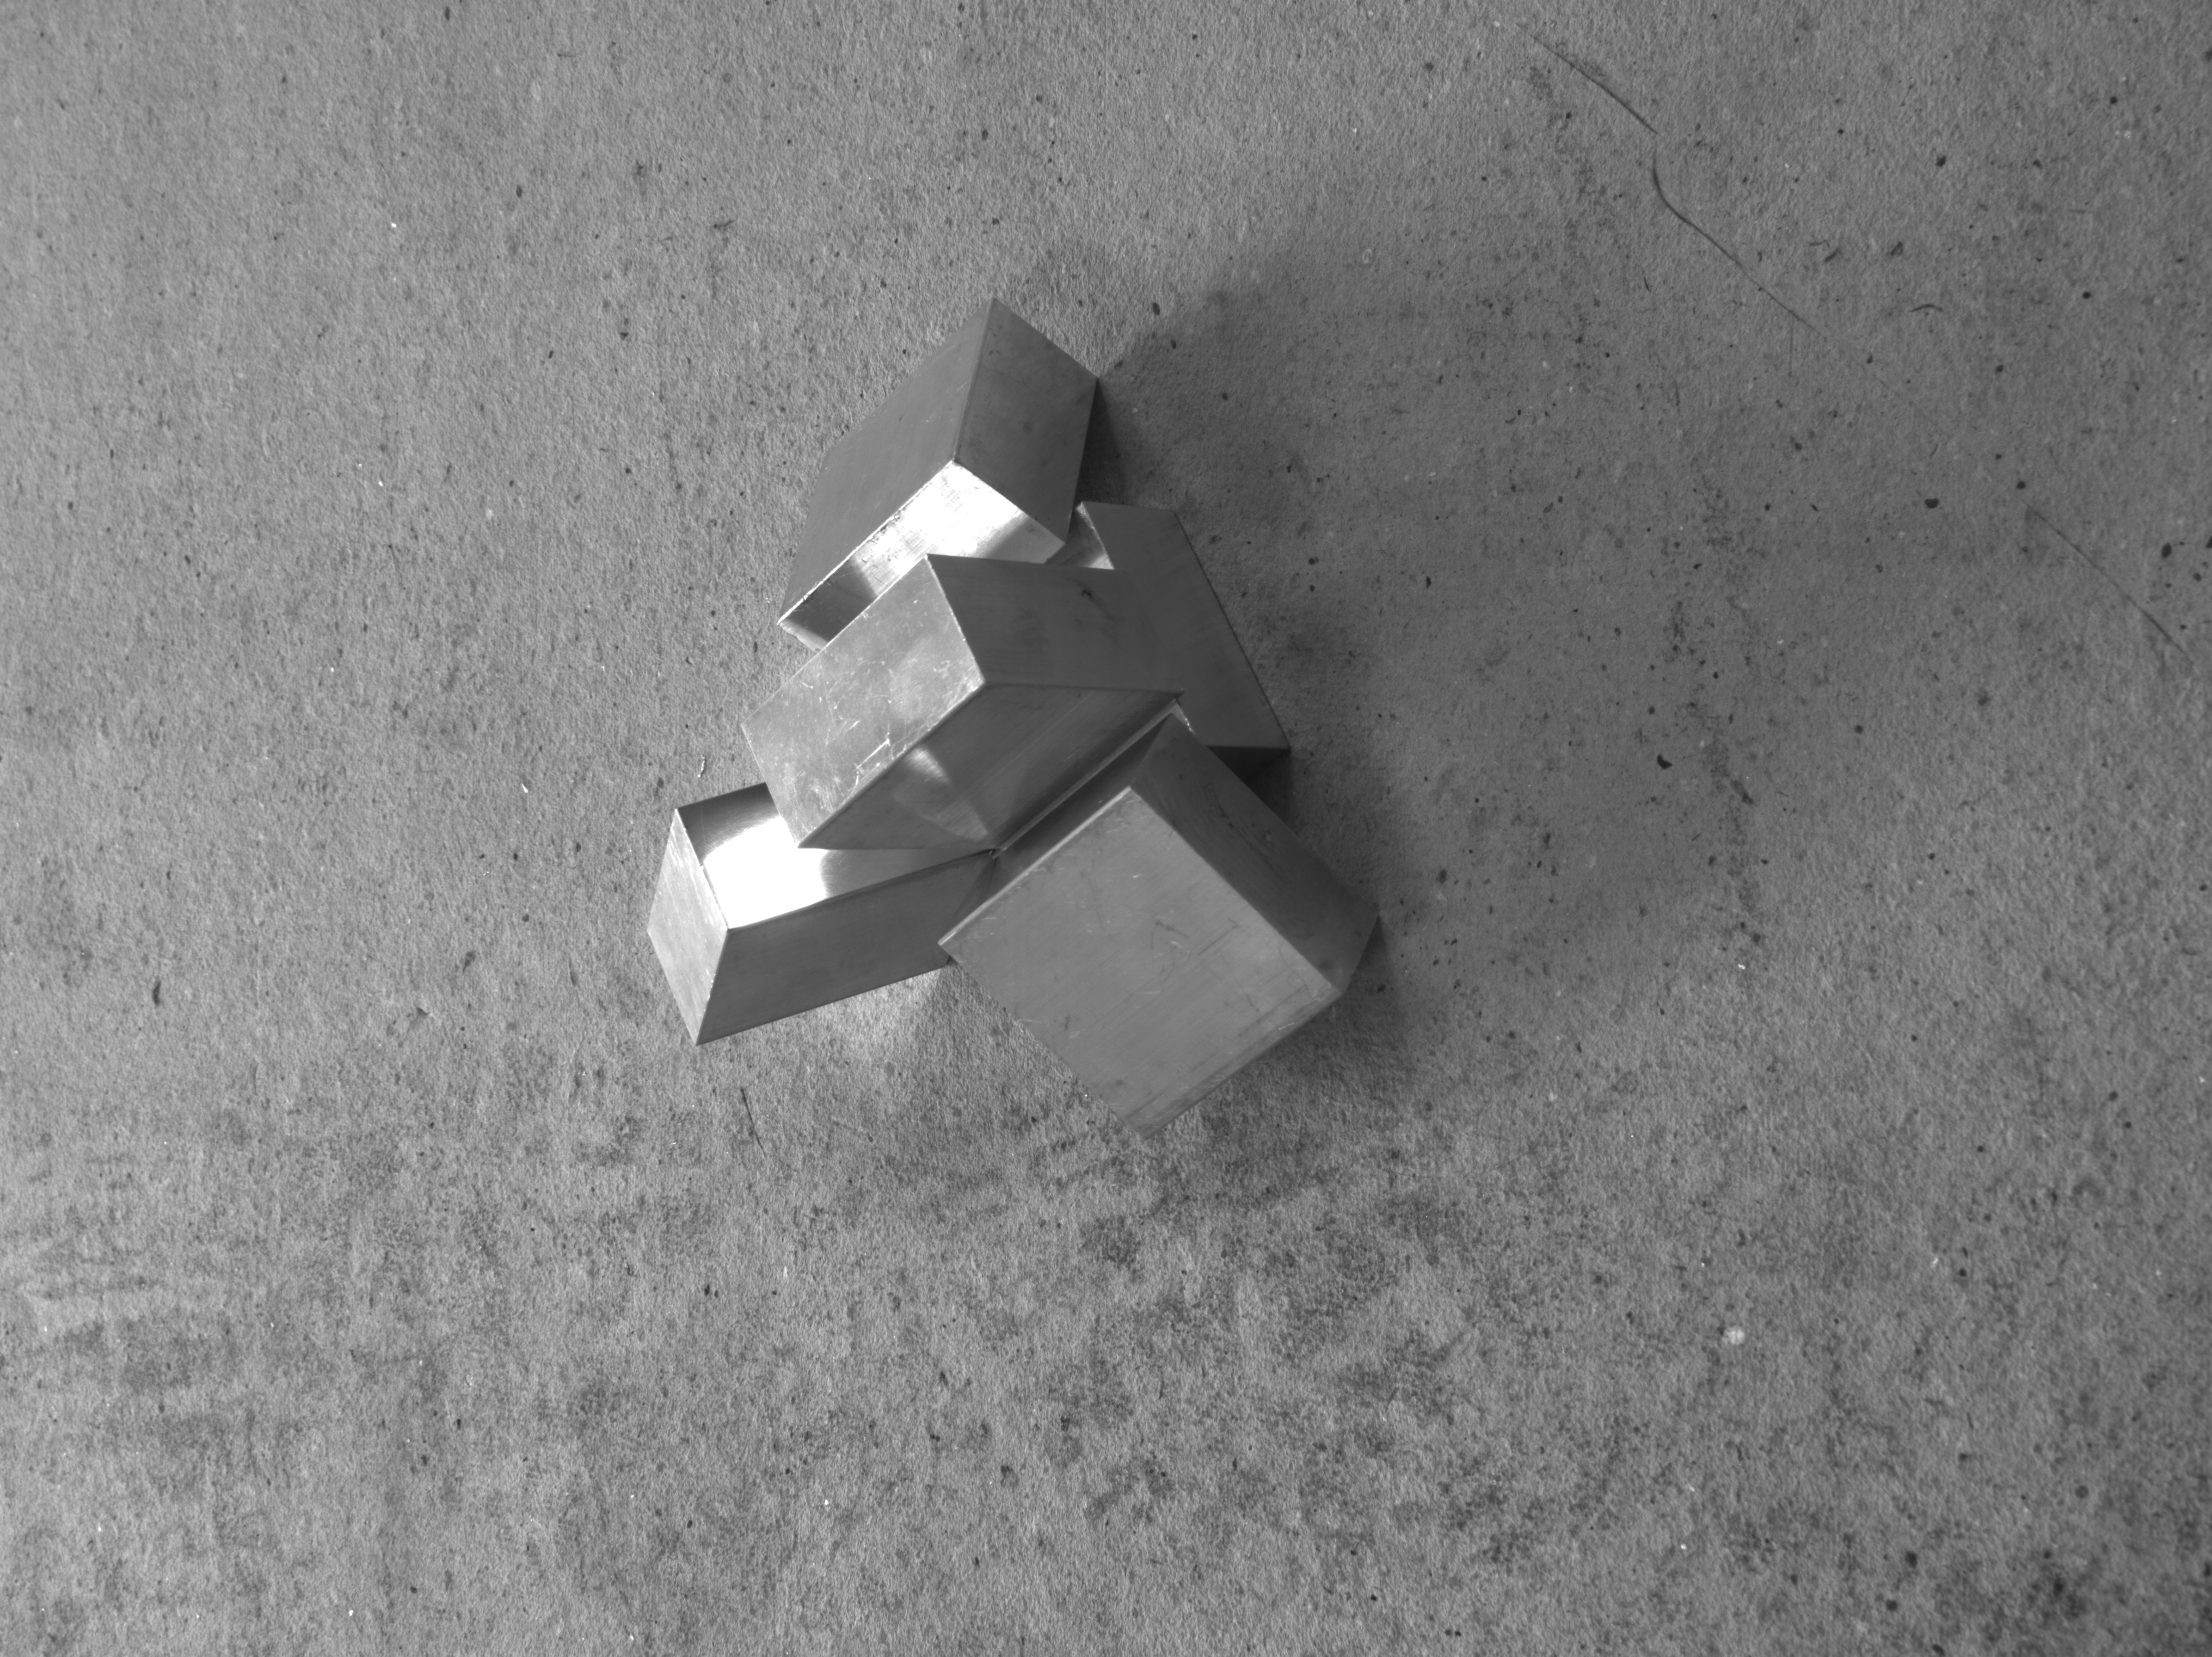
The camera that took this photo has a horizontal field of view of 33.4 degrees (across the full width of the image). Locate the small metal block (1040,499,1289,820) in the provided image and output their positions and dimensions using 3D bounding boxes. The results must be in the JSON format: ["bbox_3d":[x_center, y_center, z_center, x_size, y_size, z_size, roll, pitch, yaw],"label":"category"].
[{"bbox_3d":[-0.002,-0.022,0.648,0.050,0.025,0.050,-40,65,36],"label":"small metal block"}]

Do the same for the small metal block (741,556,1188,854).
[{"bbox_3d":[-0.024,-0.020,0.616,0.050,0.050,0.025,-39,66,33],"label":"small metal block"}]

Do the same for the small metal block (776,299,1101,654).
[{"bbox_3d":[-0.029,-0.058,0.654,0.050,0.025,0.050,-39,26,34],"label":"small metal block"}]

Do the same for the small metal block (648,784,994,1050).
[{"bbox_3d":[-0.052,0.011,0.661,0.025,0.050,0.050,65,158,19],"label":"small metal block"}]

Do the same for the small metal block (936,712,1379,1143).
[{"bbox_3d":[0.009,0.017,0.622,0.050,0.025,0.050,44,124,-10],"label":"small metal block"}]
